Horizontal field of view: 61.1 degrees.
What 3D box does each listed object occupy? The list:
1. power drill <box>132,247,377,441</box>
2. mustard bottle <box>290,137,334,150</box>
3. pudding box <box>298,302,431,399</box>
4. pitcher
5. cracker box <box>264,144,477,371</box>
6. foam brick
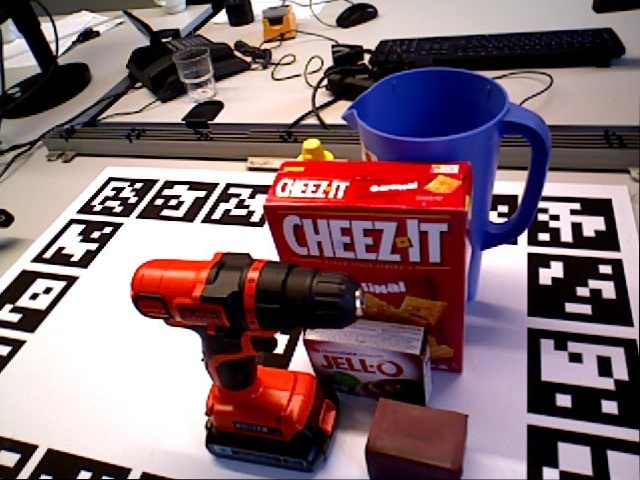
[{"bbox_3d":[-0.042,0.083,0.432,0.185,0.190,0.056,4,41,17],"label":"power drill"},{"bbox_3d":[0.002,-0.045,0.592,0.096,0.195,0.057,15,49,27],"label":"mustard bottle"},{"bbox_3d":[0.043,0.098,0.500,0.114,0.091,0.038,3,43,21],"label":"pudding box"},{"bbox_3d":[0.126,-0.044,0.542,0.190,0.247,0.130,8,46,24],"label":"pitcher"},{"bbox_3d":[0.055,0.025,0.493,0.165,0.217,0.070,2,42,18],"label":"cracker box"},{"bbox_3d":[0.086,0.169,0.462,0.078,0.052,0.051,6,47,20],"label":"foam brick"}]
